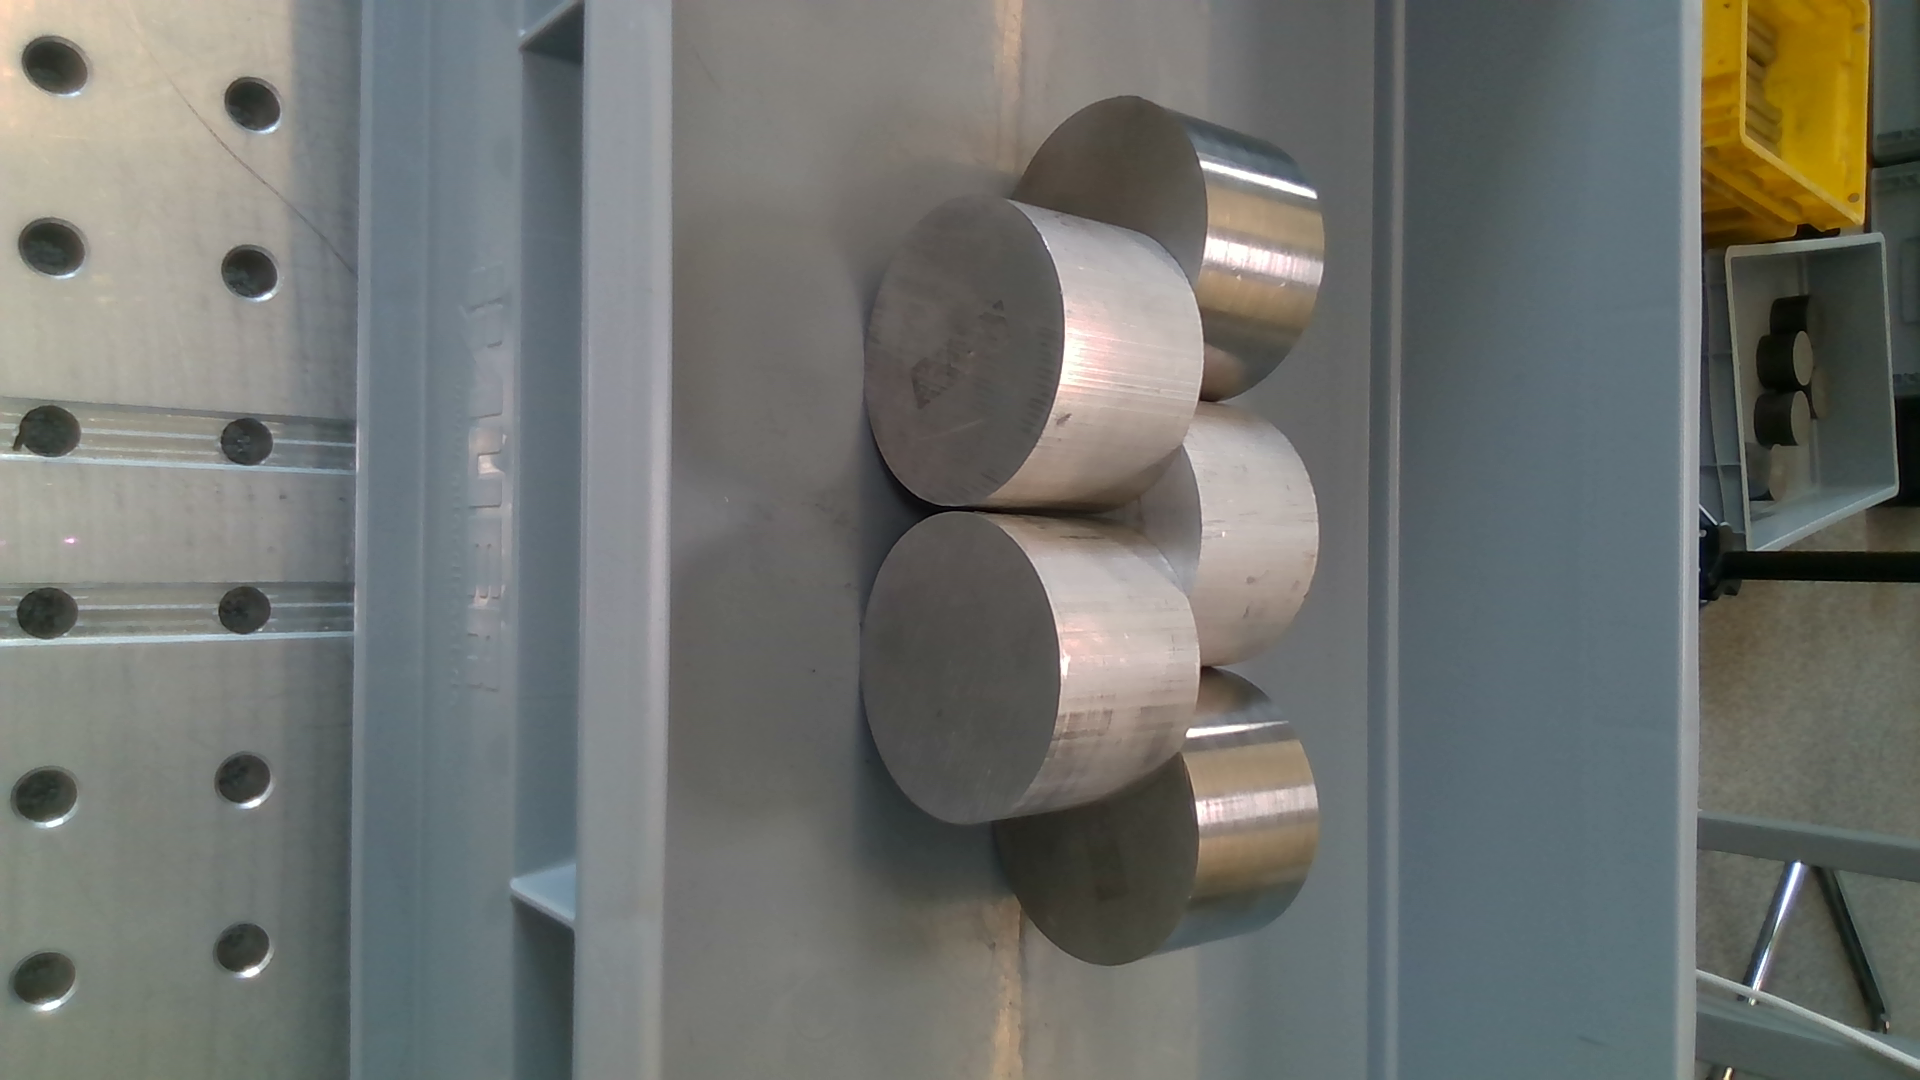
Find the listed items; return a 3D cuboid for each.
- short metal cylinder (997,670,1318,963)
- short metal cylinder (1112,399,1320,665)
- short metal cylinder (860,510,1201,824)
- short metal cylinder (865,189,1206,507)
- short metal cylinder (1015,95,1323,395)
[{"bbox_3d":[0.055,0.078,0.401,0.050,0.080,0.080,2,89,-40],"label":"short metal cylinder"},{"bbox_3d":[0.056,-0.003,0.401,0.050,0.080,0.080,1,89,-40],"label":"short metal cylinder"},{"bbox_3d":[0.017,0.033,0.368,0.050,0.080,0.080,1,89,-40],"label":"short metal cylinder"},{"bbox_3d":[0.018,-0.049,0.369,0.050,0.080,0.080,1,89,-40],"label":"short metal cylinder"},{"bbox_3d":[0.057,-0.083,0.402,0.050,0.080,0.080,1,89,-40],"label":"short metal cylinder"}]
